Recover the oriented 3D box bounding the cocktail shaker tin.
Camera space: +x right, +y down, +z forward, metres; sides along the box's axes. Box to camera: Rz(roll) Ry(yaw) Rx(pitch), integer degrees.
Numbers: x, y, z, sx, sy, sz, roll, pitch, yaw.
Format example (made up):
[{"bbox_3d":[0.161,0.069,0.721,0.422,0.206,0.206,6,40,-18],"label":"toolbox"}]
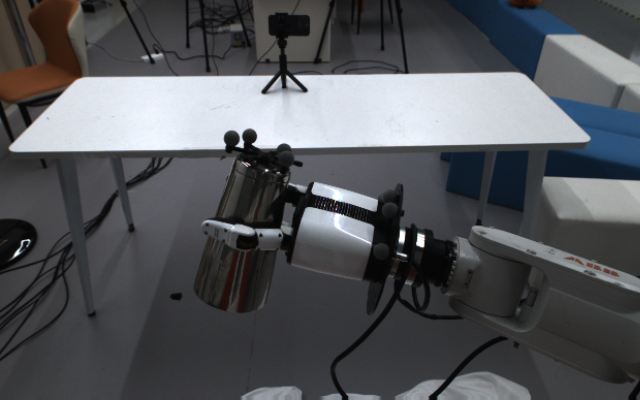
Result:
[{"bbox_3d":[-0.087,0.035,0.572,0.093,0.170,0.093,15,17,-5],"label":"cocktail shaker tin"}]
